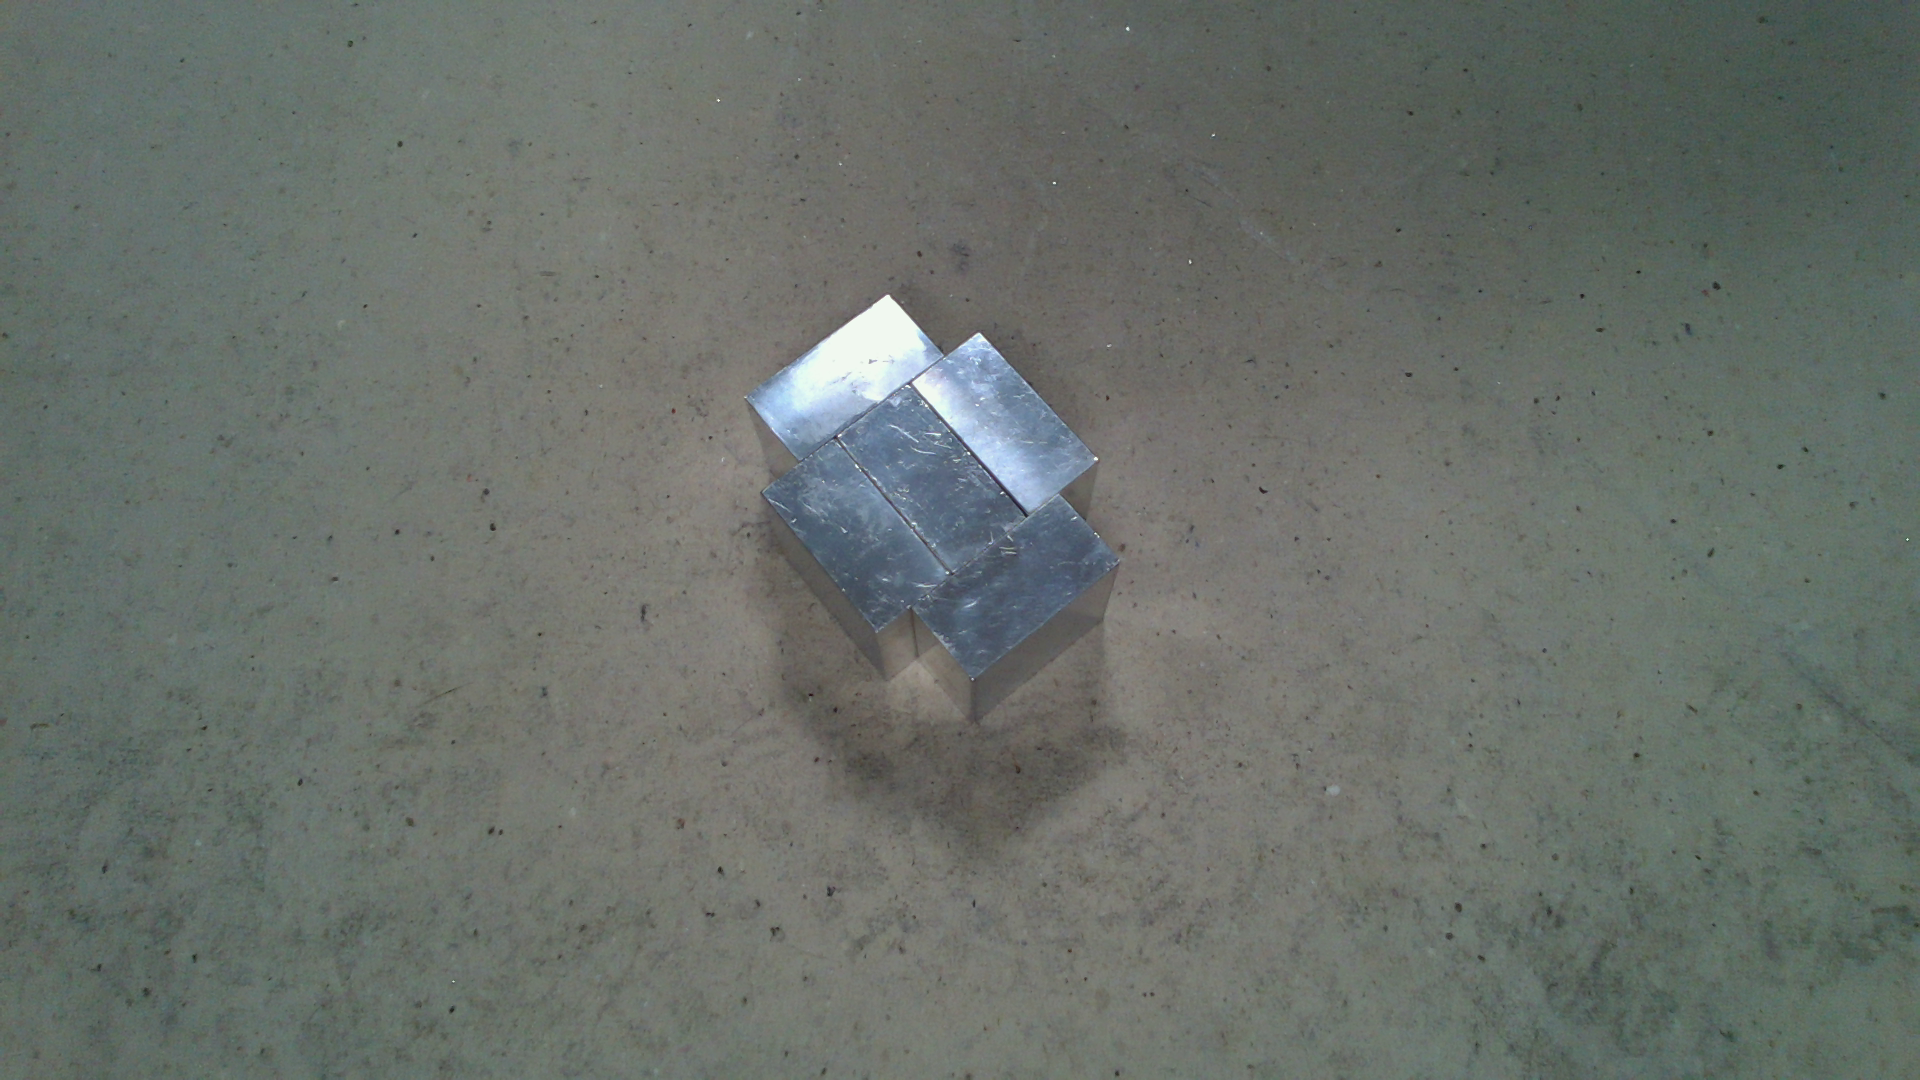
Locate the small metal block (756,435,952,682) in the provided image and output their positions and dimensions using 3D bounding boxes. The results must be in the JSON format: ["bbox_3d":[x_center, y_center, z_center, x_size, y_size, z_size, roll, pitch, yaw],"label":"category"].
[{"bbox_3d":[-0.027,0.006,0.378,0.025,0.050,0.050,-38,74,-12],"label":"small metal block"}]

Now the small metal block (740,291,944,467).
[{"bbox_3d":[-0.032,-0.036,0.394,0.050,0.050,0.025,-38,74,-12],"label":"small metal block"}]

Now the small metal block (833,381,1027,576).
[{"bbox_3d":[-0.008,-0.009,0.384,0.025,0.050,0.050,-38,74,-12],"label":"small metal block"}]

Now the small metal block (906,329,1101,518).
[{"bbox_3d":[0.011,-0.024,0.389,0.025,0.050,0.050,-39,74,-13],"label":"small metal block"}]

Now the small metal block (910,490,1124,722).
[{"bbox_3d":[0.015,0.020,0.374,0.050,0.050,0.025,-38,74,-12],"label":"small metal block"}]
